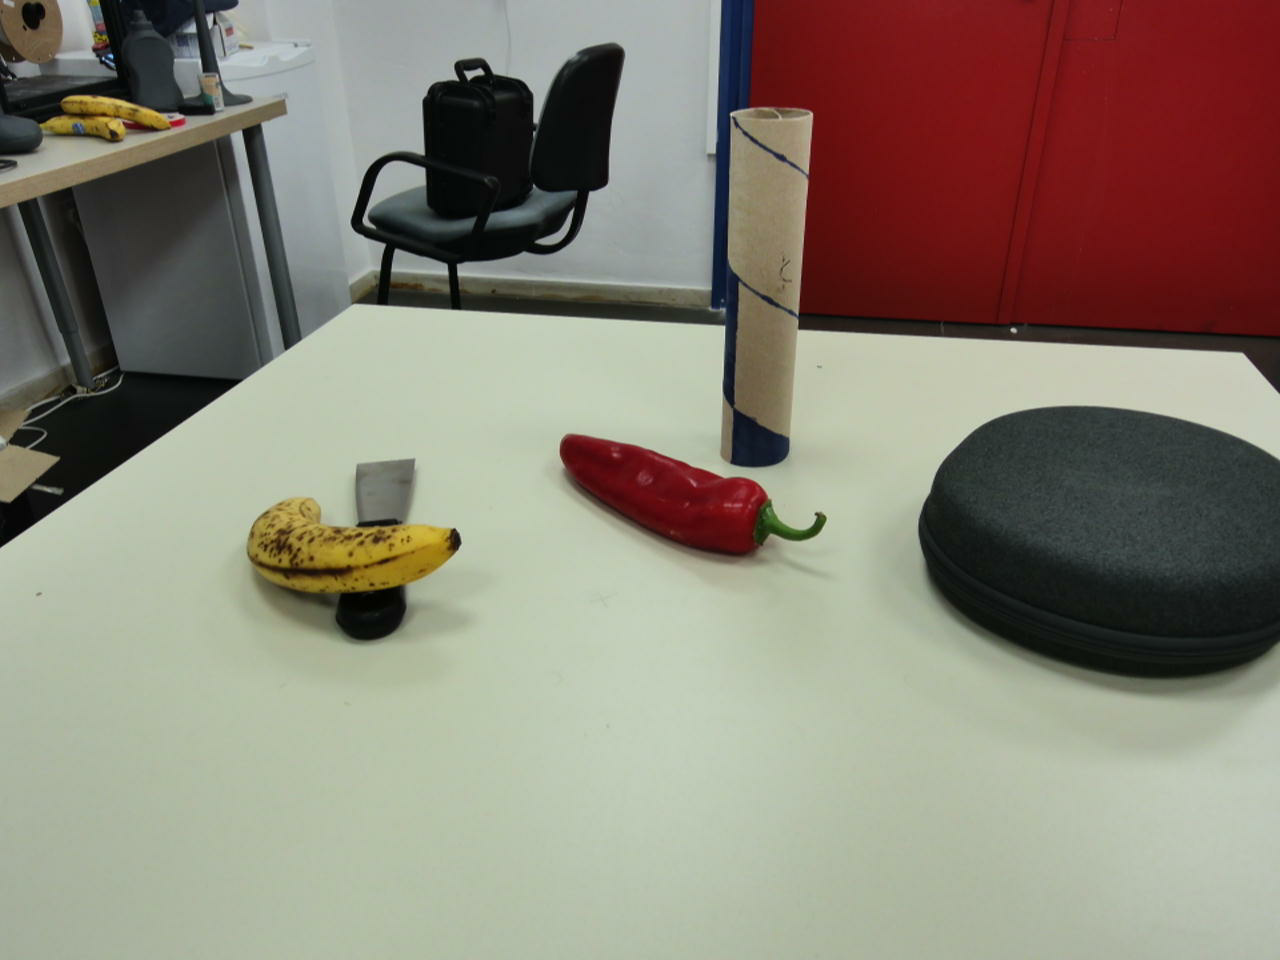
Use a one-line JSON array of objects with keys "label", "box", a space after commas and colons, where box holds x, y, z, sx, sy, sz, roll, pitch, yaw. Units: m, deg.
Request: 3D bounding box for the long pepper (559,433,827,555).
[{"label": "long pepper", "box": [0.018, 0.006, 0.607, 0.211, 0.043, 0.050, 22, 34, 39]}]
